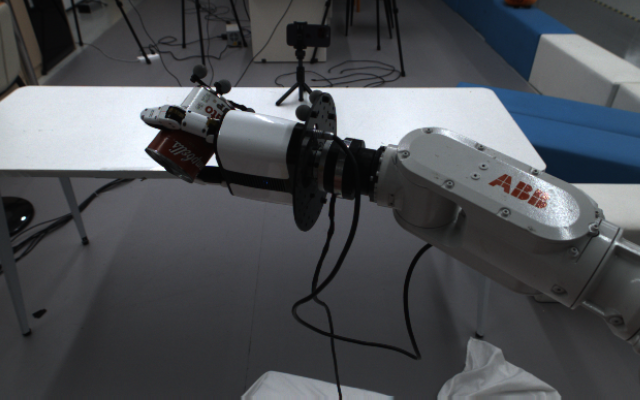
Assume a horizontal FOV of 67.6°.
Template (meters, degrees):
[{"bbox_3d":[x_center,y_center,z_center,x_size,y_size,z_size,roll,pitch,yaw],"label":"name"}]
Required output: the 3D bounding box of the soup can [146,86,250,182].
[{"bbox_3d":[-0.153,-0.080,0.588,0.067,0.067,0.101,24,73,29],"label":"soup can"}]
